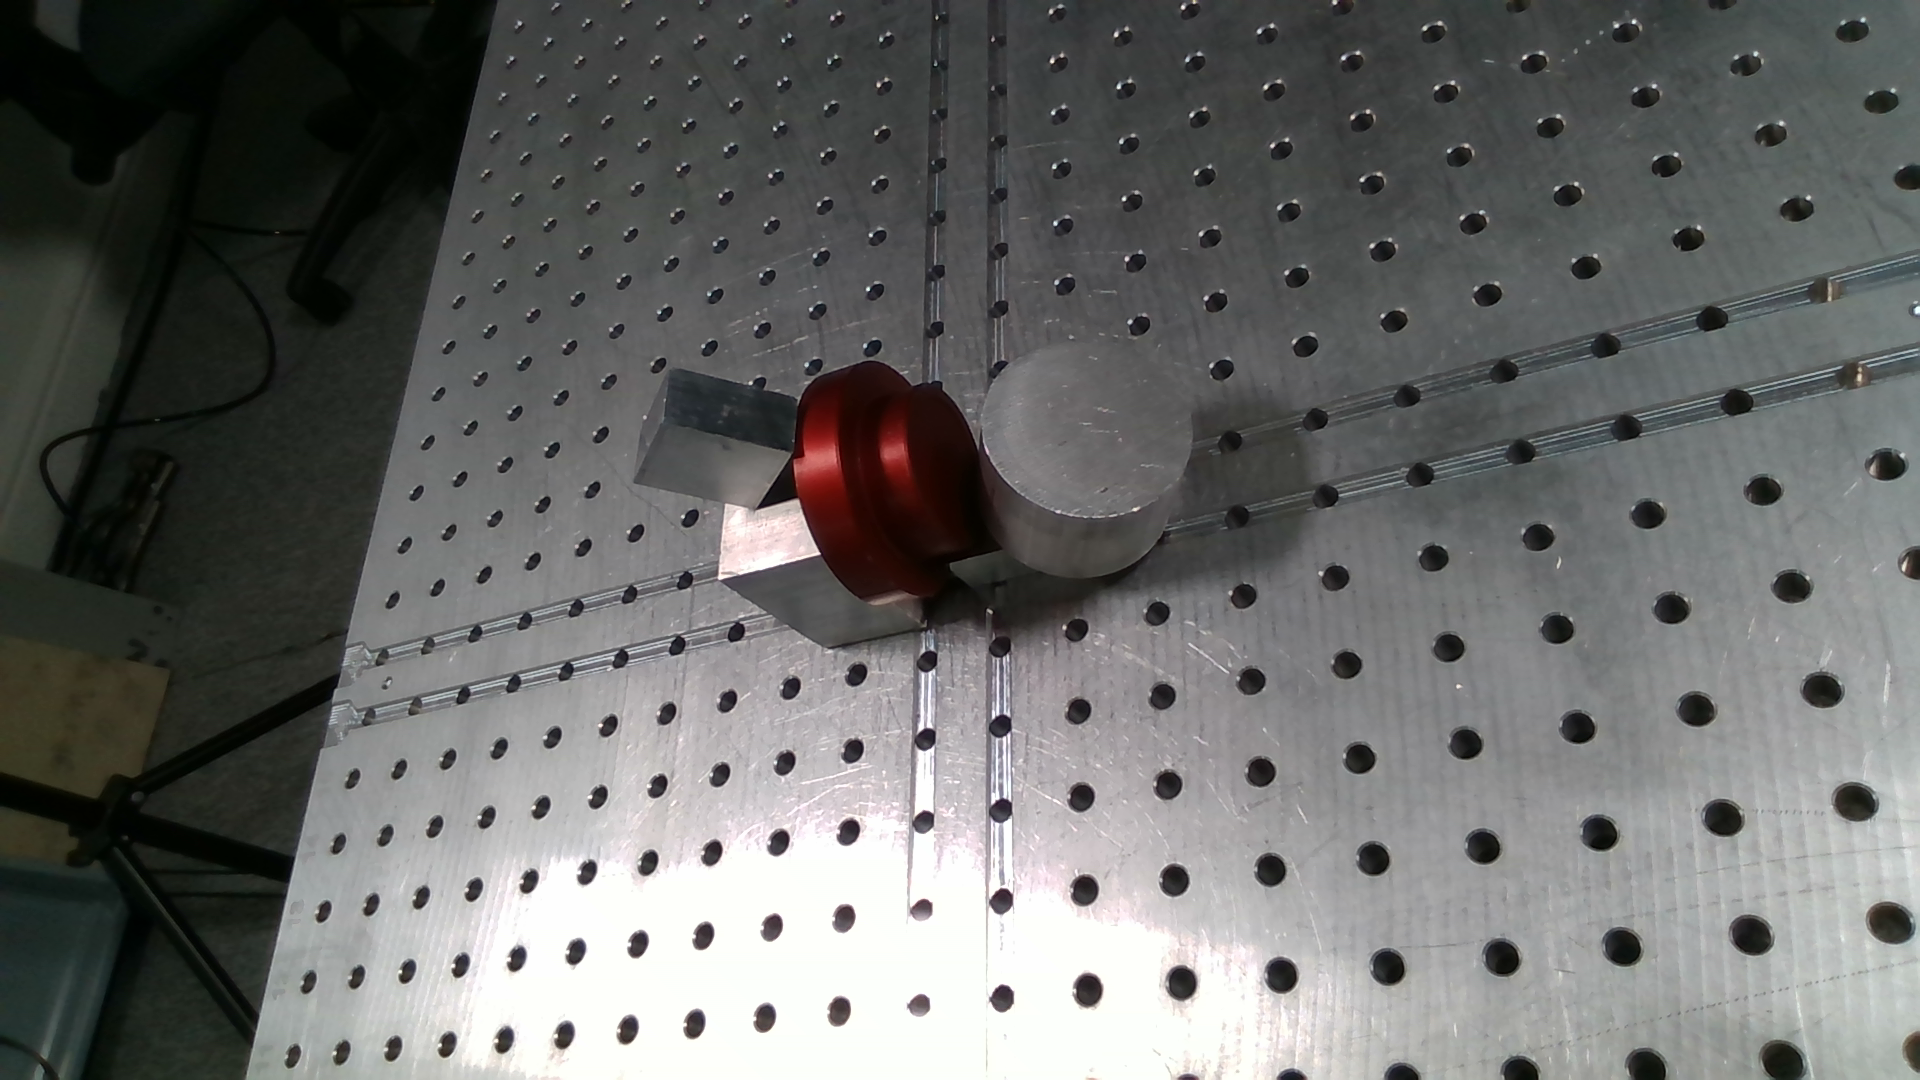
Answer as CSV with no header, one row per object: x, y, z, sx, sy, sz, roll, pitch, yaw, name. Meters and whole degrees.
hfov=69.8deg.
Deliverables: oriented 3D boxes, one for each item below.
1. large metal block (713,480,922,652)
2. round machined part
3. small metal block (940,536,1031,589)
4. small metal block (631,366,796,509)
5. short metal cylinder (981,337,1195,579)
-0.057,-0.007,0.591,0.050,0.080,0.080,-14,59,25,large metal block
-0.024,-0.025,0.556,0.042,0.098,0.098,-14,59,25,round machined part
0.020,-0.012,0.581,0.050,0.025,0.050,-14,59,25,small metal block
-0.096,-0.038,0.535,0.050,0.050,0.025,134,142,-55,small metal block
0.047,-0.032,0.538,0.080,0.050,0.080,1,63,-1,short metal cylinder
